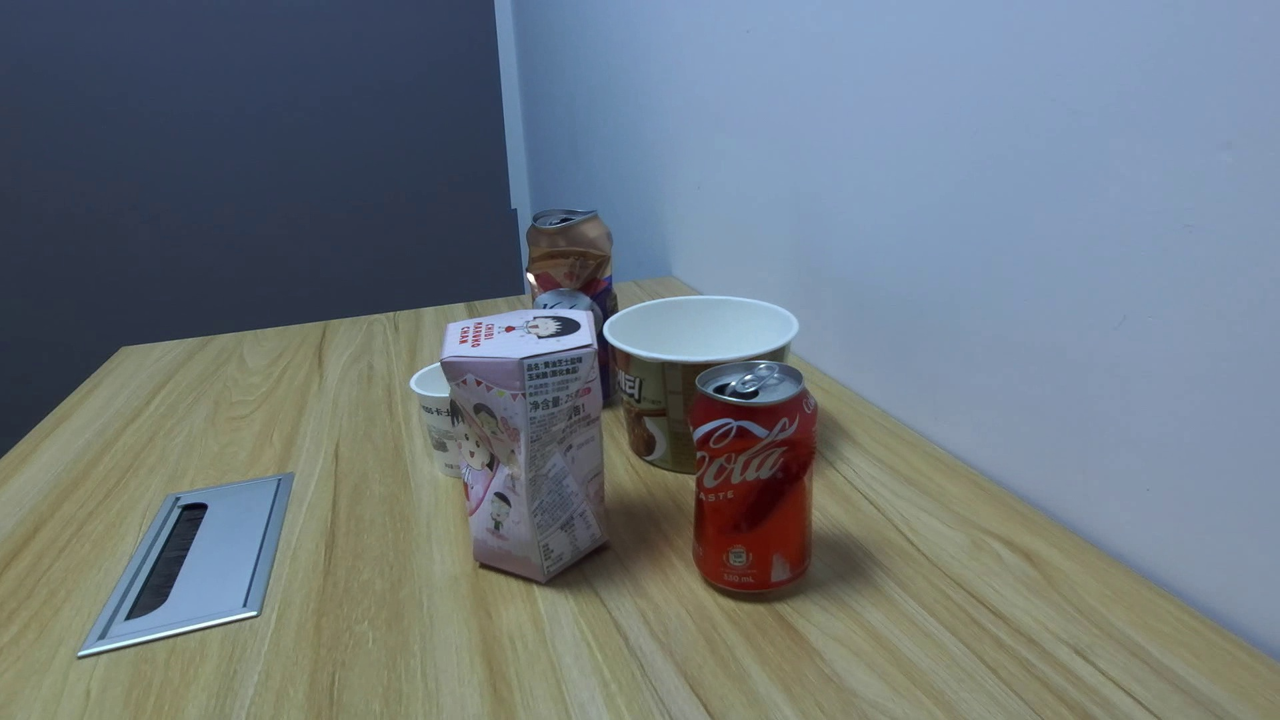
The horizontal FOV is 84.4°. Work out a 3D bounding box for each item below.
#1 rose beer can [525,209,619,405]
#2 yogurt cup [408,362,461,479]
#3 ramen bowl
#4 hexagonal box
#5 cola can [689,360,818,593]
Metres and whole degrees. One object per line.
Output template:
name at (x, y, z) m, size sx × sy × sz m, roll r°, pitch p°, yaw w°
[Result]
rose beer can at (-0.052, -0.041, 0.584) m, size 0.074 × 0.162 × 0.068 m, roll -7°, pitch 21°, yaw -4°
yogurt cup at (-0.147, 0.040, 0.568) m, size 0.072 × 0.068 × 0.072 m, roll -8°, pitch 24°, yaw 4°
ramen bowl at (0.043, 0.016, 0.517) m, size 0.140 × 0.095 × 0.140 m, roll -2°, pitch 21°, yaw 1°
hexagonal box at (-0.062, 0.044, 0.407) m, size 0.093 × 0.135 × 0.088 m, roll -23°, pitch 29°, yaw -39°
cola can at (0.059, 0.060, 0.373) m, size 0.066 × 0.117 × 0.066 m, roll 0°, pitch 22°, yaw 8°
